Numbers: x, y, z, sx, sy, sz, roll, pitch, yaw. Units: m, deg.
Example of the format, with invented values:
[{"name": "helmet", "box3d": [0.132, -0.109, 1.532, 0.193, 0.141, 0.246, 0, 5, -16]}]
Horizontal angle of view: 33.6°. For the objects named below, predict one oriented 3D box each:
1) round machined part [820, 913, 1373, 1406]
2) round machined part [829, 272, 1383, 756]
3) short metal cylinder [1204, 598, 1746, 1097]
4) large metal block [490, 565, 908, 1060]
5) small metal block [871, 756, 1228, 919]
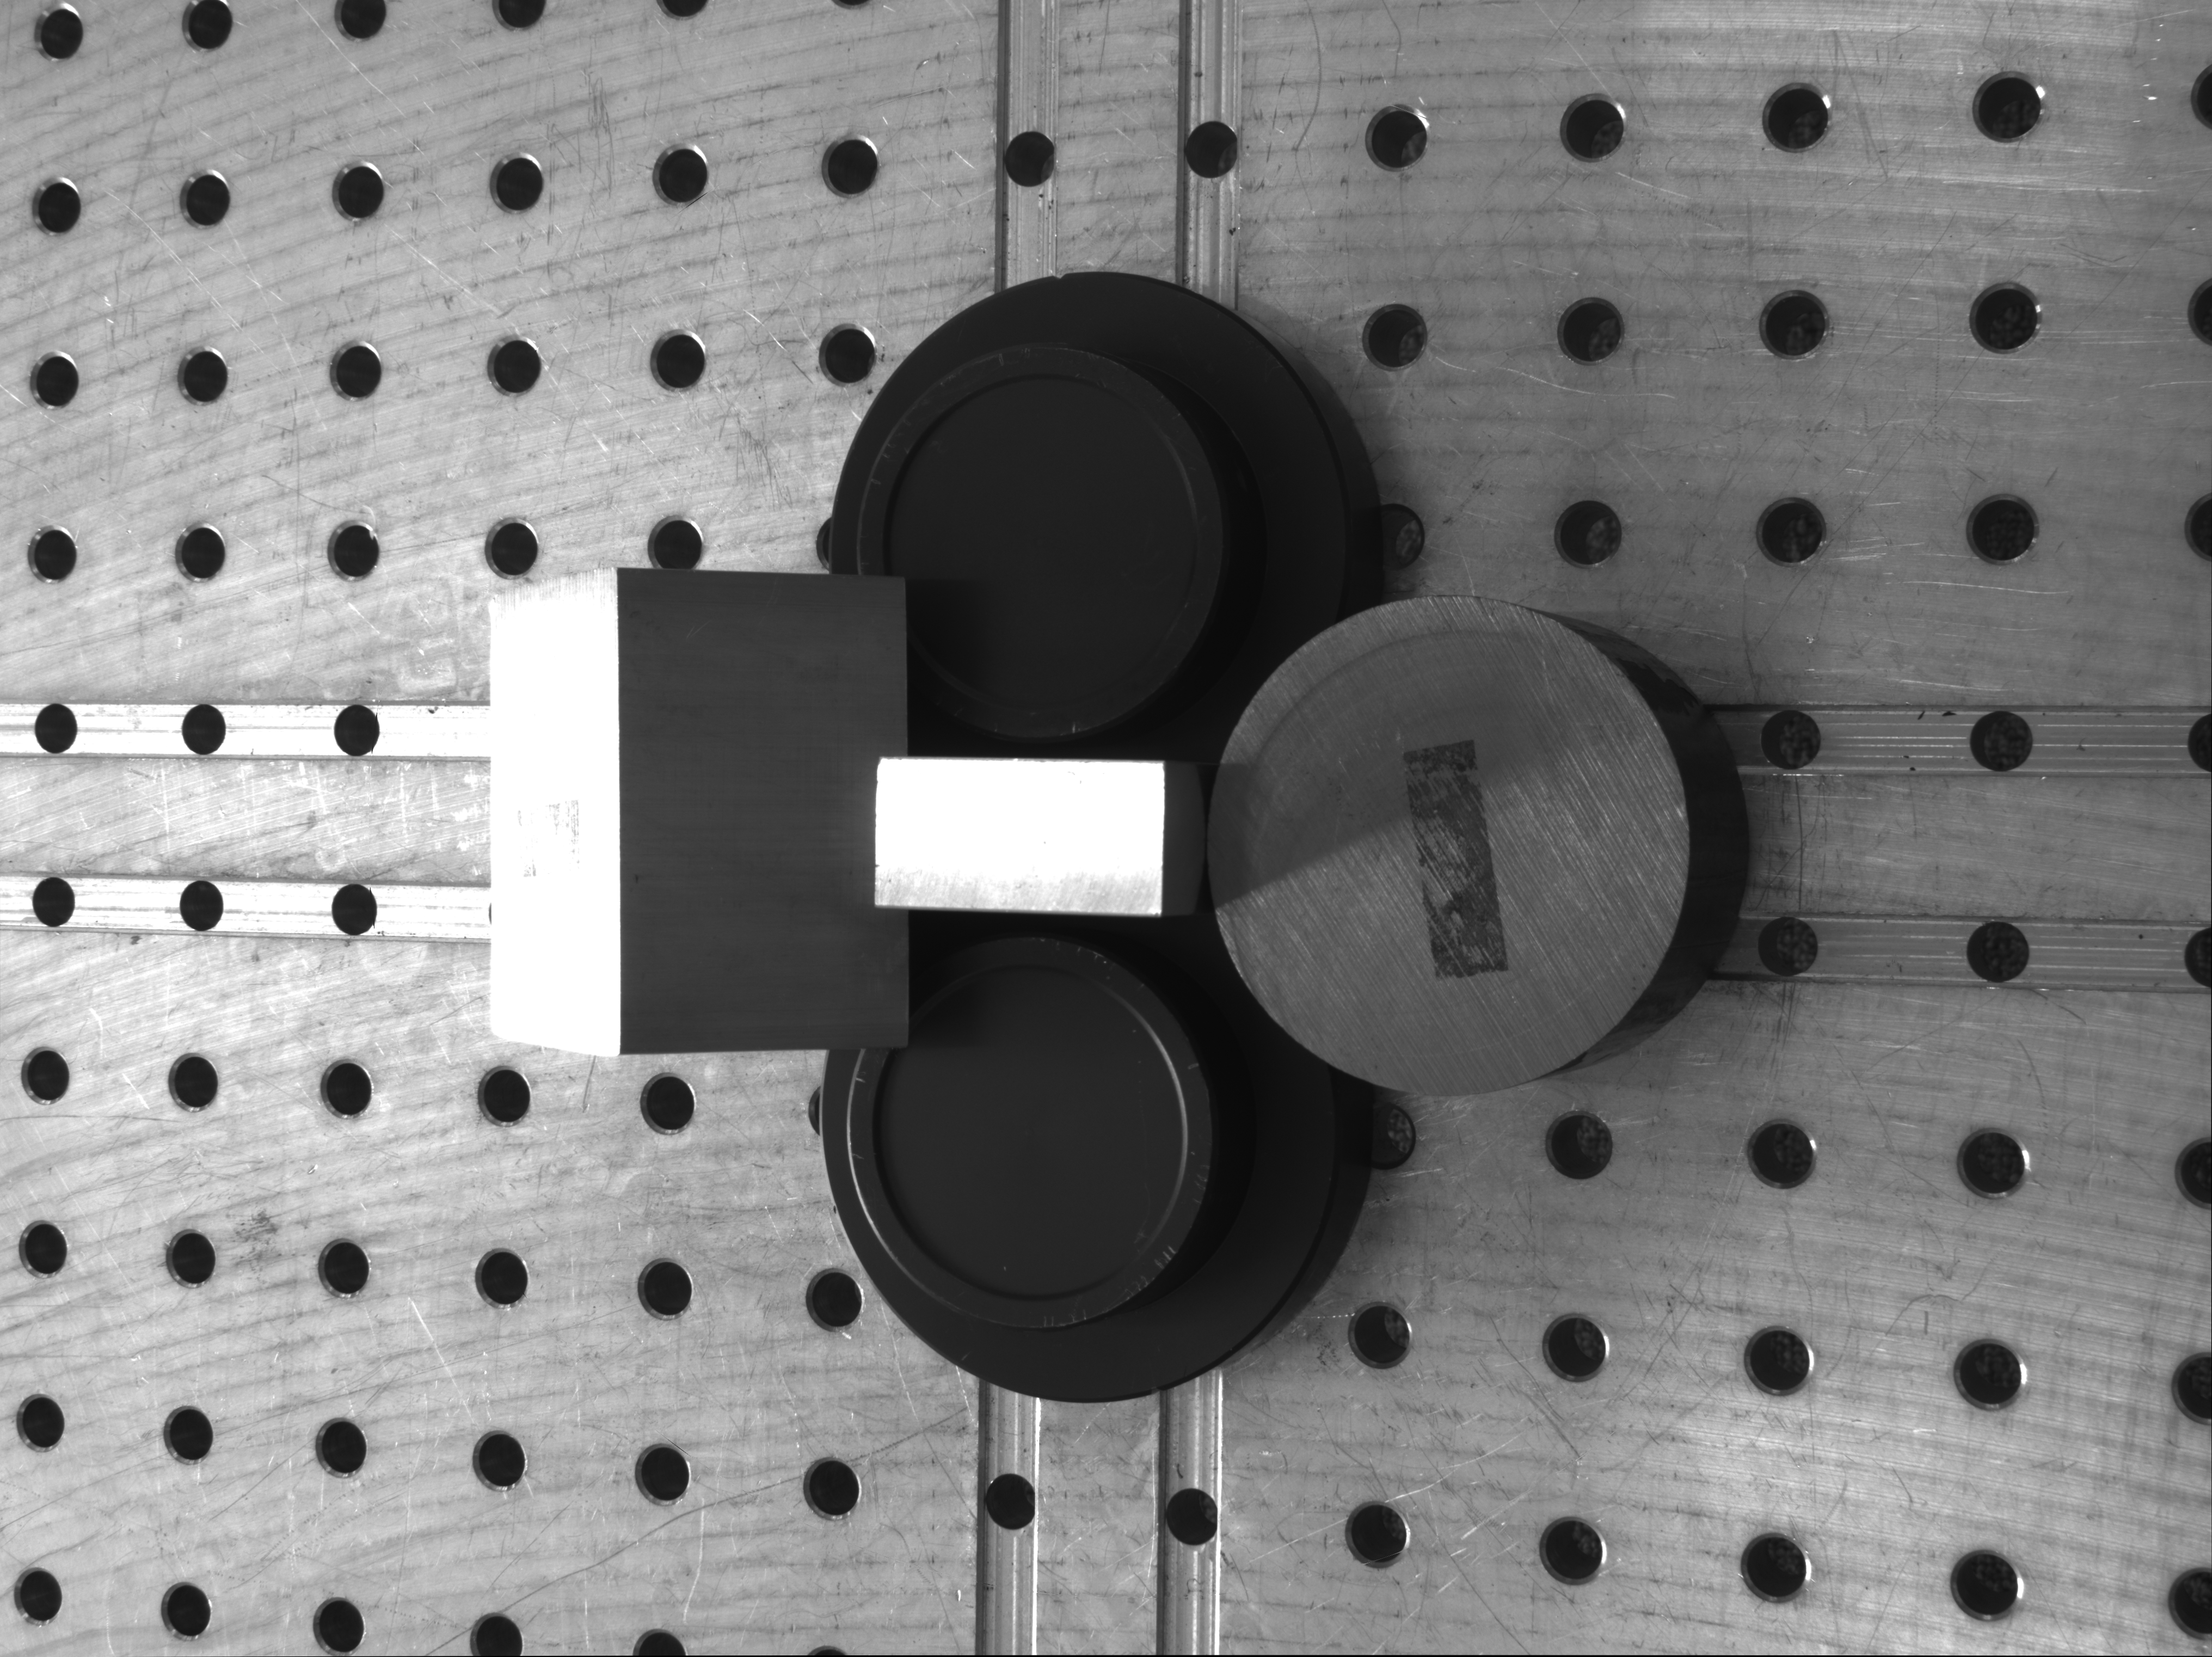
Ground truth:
[{"name": "round machined part", "box3d": [-0.006, 0.052, 0.642, 0.098, 0.042, 0.098, 0, 90, 20]}, {"name": "round machined part", "box3d": [-0.004, -0.049, 0.642, 0.098, 0.042, 0.098, 0, 90, 20]}, {"name": "short metal cylinder", "box3d": [0.062, 0.003, 0.612, 0.080, 0.050, 0.080, 0, 90, 20]}, {"name": "large metal block", "box3d": [-0.073, -0.002, 0.640, 0.050, 0.080, 0.080, 0, 90, -24]}, {"name": "small metal block", "box3d": [-0.006, 0.001, 0.614, 0.050, 0.050, 0.025, 1, 90, 20]}]
